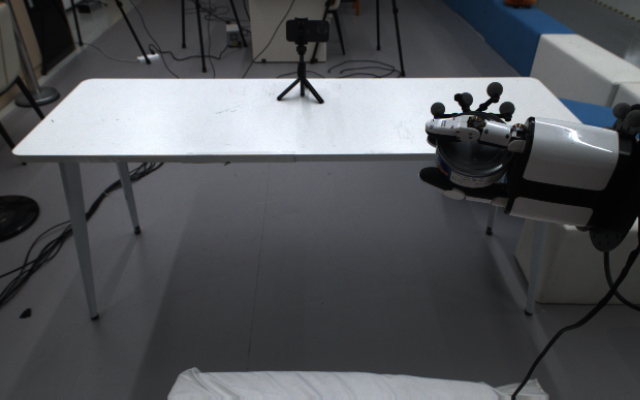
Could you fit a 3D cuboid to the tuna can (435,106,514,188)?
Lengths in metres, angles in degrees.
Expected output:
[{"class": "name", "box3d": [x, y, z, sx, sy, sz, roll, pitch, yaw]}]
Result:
[{"class": "tuna can", "box3d": [0.178, -0.062, 0.556, 0.085, 0.034, 0.085, -5, 59, 8]}]
